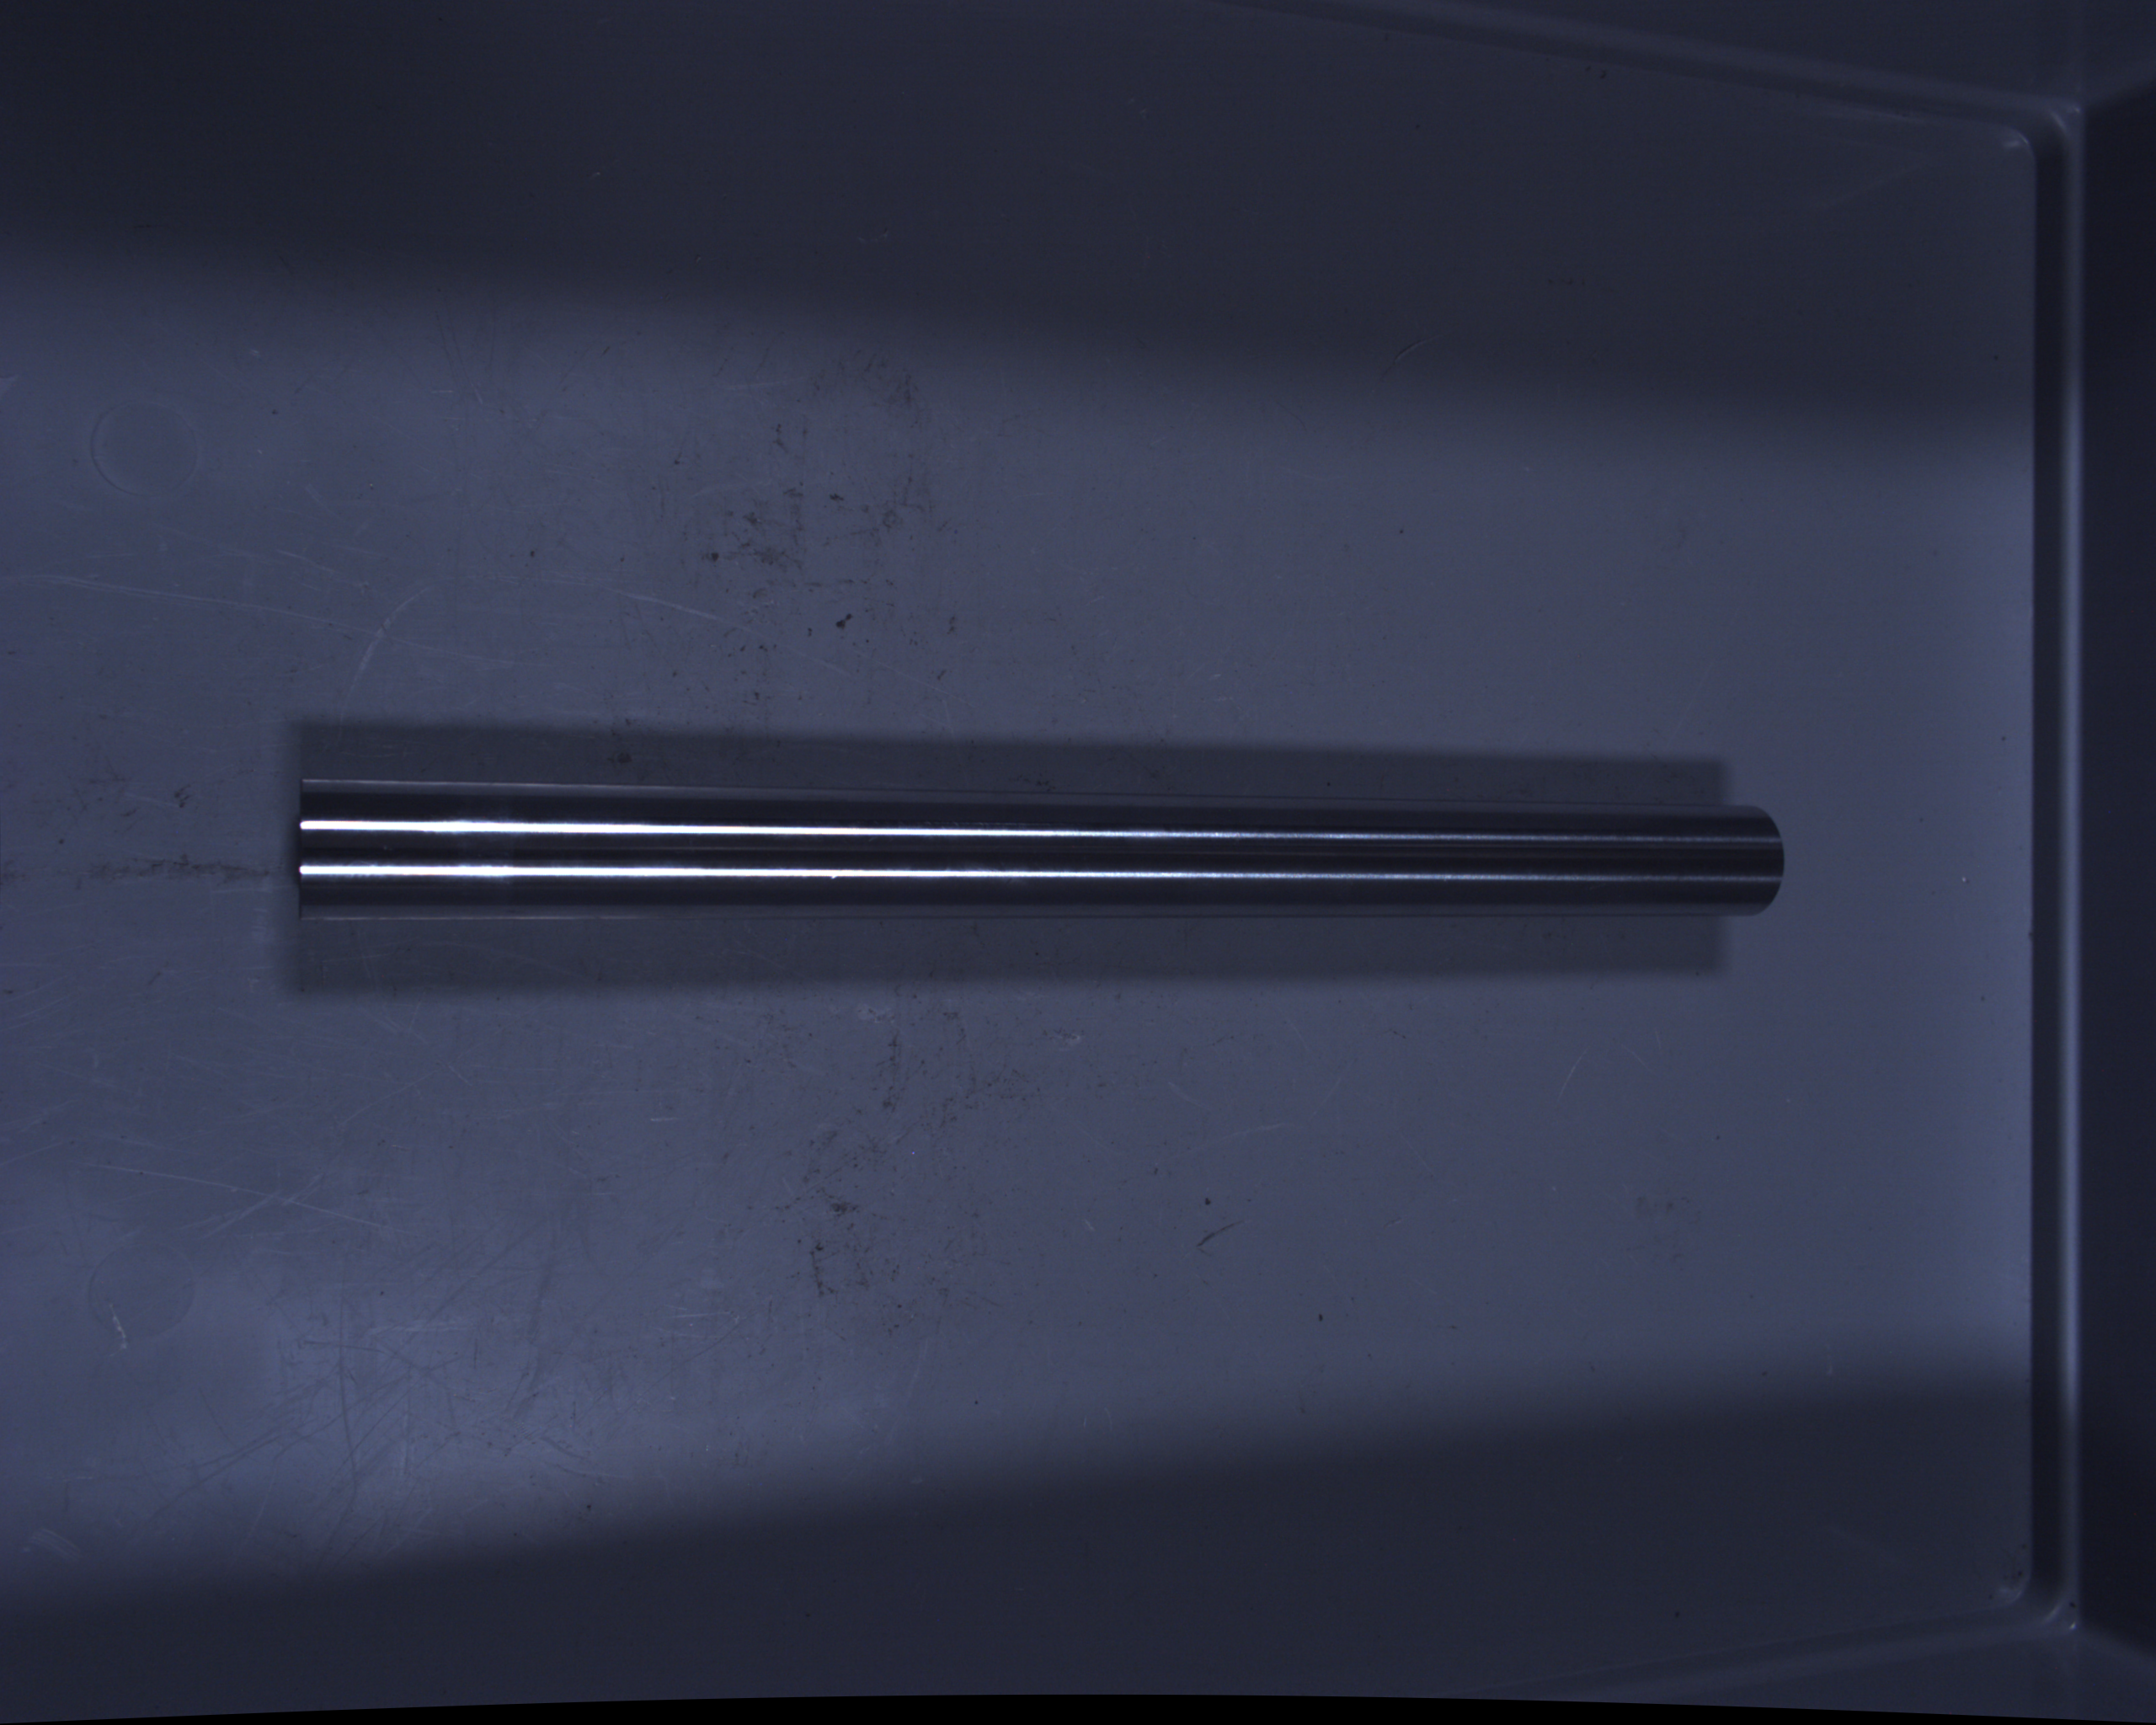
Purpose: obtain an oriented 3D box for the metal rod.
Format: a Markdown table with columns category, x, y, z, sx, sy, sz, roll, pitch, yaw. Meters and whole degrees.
| category | x | y | z | sx | sy | sz | roll | pitch | yaw |
| --- | --- | --- | --- | --- | --- | --- | --- | --- | --- |
| metal rod | 0.008 | -0.001 | 0.412 | 0.303 | 0.025 | 0.025 | 0 | 90 | -21 |
